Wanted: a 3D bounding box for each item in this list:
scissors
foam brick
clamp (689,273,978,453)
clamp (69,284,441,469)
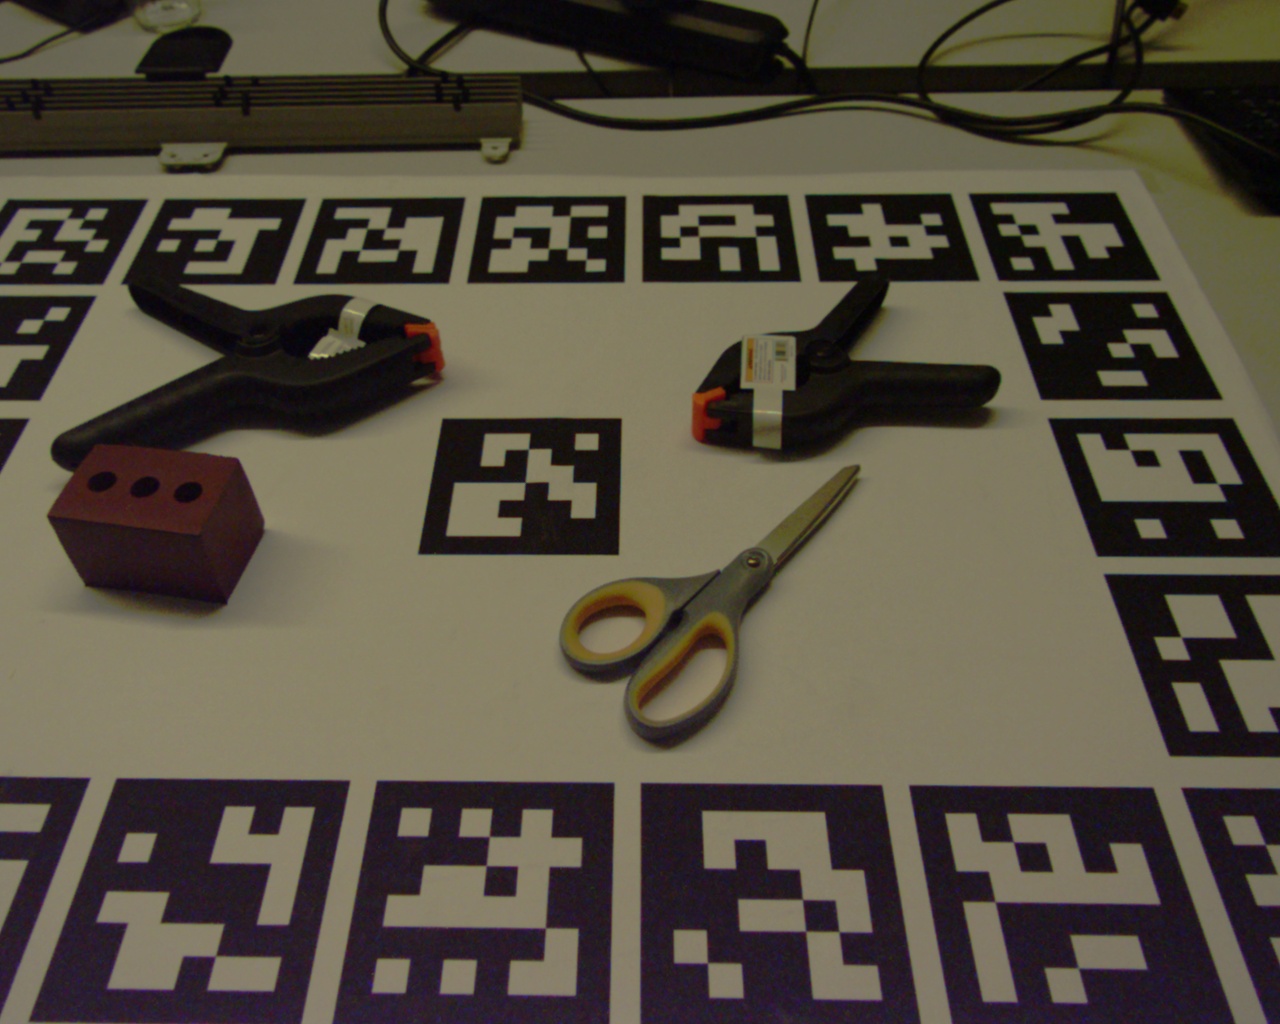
[{"bbox_3d":[0.040,0.032,0.589,0.088,0.016,0.201,36,57,19],"label":"scissors"},{"bbox_3d":[-0.241,0.011,0.600,0.078,0.051,0.053,3,50,10],"label":"foam brick"},{"bbox_3d":[0.102,-0.080,0.682,0.164,0.036,0.123,-22,59,-16],"label":"clamp"},{"bbox_3d":[-0.224,-0.089,0.694,0.202,0.036,0.166,-3,46,-2],"label":"clamp"}]
